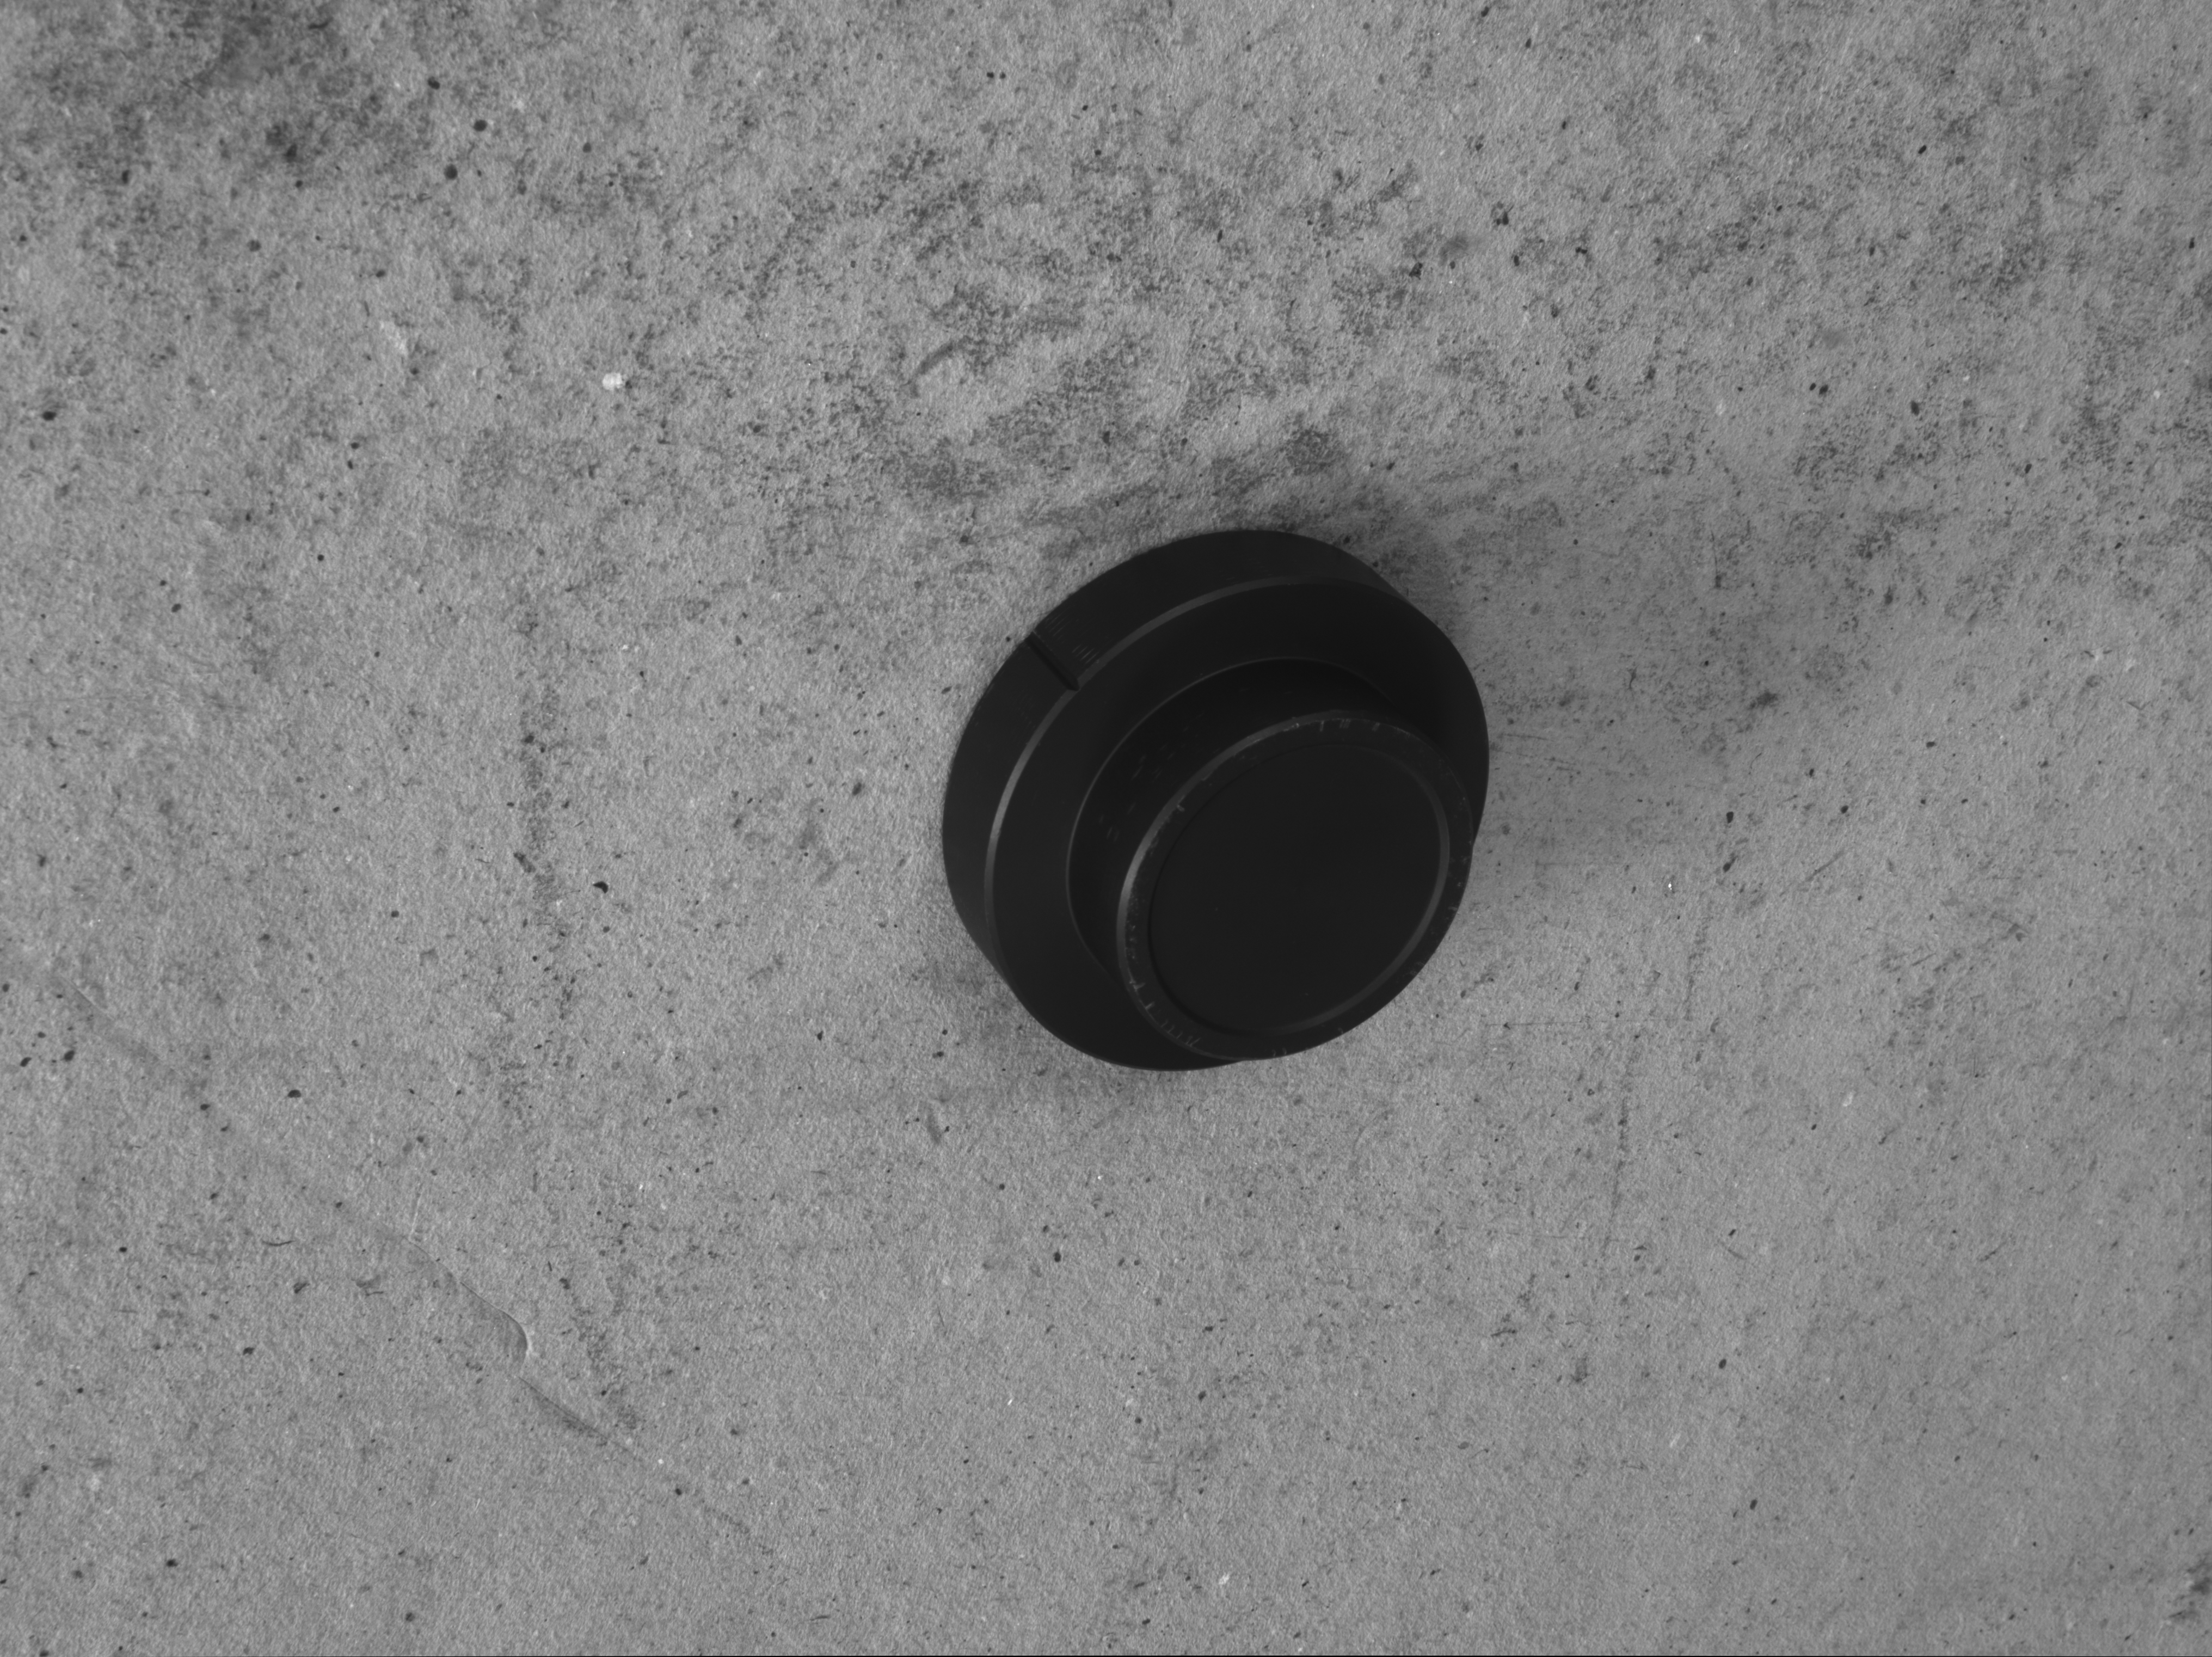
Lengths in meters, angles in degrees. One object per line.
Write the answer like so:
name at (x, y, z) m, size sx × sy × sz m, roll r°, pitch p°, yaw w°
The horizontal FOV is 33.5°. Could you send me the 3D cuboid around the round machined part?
round machined part at (0.024, 0.001, 0.641) m, size 0.098 × 0.042 × 0.098 m, roll -13°, pitch 124°, yaw -21°
